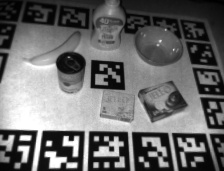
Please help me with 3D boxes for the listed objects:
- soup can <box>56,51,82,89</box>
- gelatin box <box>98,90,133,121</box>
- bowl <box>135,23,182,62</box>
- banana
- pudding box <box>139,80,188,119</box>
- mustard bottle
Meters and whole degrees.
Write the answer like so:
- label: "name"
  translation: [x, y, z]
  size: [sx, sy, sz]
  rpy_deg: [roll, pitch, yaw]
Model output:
- label: "soup can"
  translation: [-0.115, -0.045, 0.571]
  size: [0.068, 0.102, 0.067]
  rpy_deg: [6, 58, -9]
- label: "gelatin box"
  translation: [0.011, 0.054, 0.591]
  size: [0.089, 0.030, 0.073]
  rpy_deg: [9, 62, -5]
- label: "bowl"
  translation: [0.149, -0.131, 0.714]
  size: [0.162, 0.055, 0.161]
  rpy_deg: [5, 59, -7]
- label: "banana"
  translation: [-0.165, -0.124, 0.654]
  size: [0.073, 0.039, 0.198]
  rpy_deg: [35, 59, 21]
- label: "pudding box"
  translation: [0.146, 0.034, 0.624]
  size: [0.115, 0.038, 0.089]
  rpy_deg: [-19, 71, -20]
- label: "mustard bottle"
  translation: [-0.008, -0.196, 0.624]
  size: [0.096, 0.192, 0.058]
  rpy_deg: [3, 57, -9]
